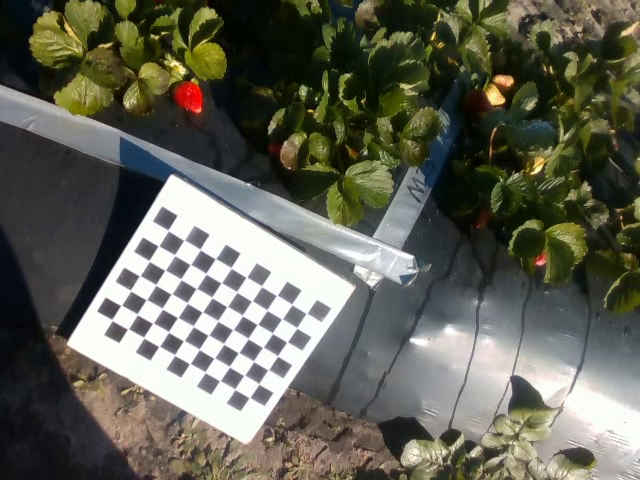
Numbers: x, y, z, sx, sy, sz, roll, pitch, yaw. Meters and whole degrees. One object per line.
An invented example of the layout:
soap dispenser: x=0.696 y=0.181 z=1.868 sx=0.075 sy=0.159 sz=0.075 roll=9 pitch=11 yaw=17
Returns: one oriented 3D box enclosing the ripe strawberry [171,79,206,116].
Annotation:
ripe strawberry: x=-0.183 y=-0.198 z=0.944 sx=0.045 sy=0.059 sz=0.042 roll=-30 pitch=-6 yaw=3
